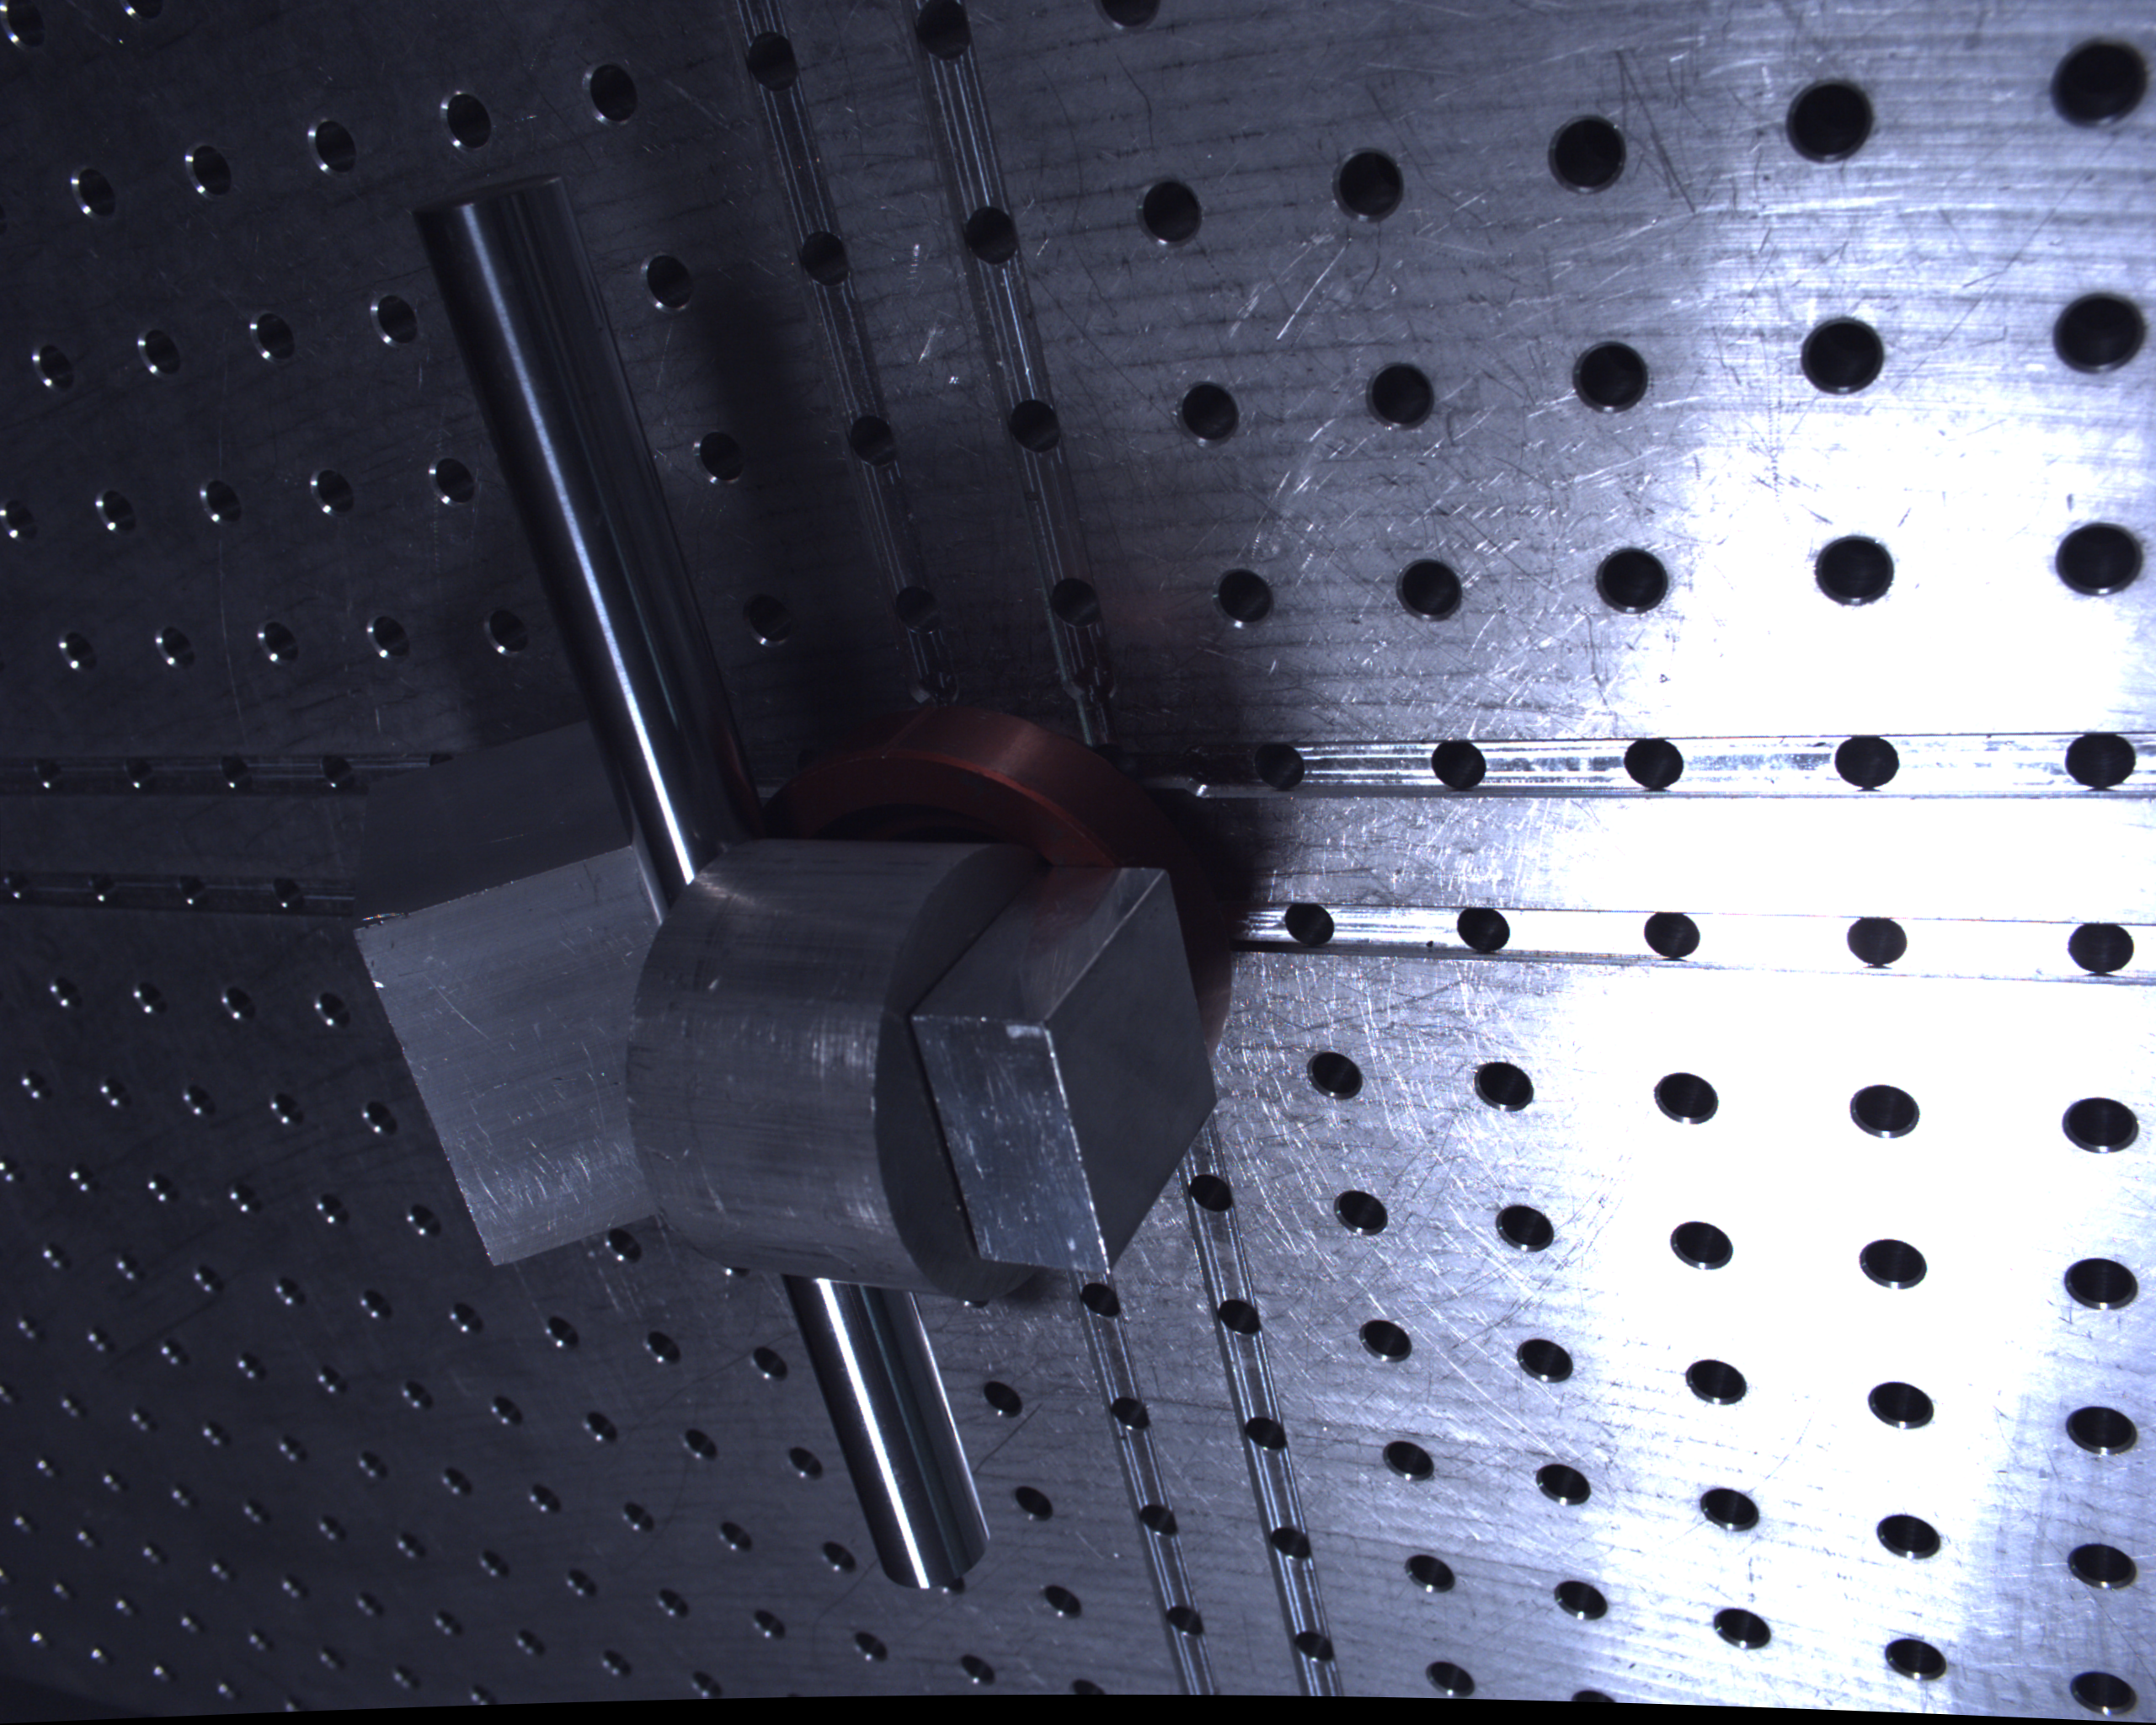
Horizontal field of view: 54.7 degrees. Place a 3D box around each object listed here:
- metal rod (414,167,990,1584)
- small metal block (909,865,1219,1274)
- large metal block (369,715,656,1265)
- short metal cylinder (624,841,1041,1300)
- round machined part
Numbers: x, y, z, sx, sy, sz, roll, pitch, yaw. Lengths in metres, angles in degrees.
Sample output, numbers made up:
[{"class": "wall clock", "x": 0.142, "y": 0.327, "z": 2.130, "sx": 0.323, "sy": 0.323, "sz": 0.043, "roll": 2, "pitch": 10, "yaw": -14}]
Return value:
[{"class": "metal rod", "x": -0.064, "y": 0.021, "z": 0.402, "sx": 0.025, "sy": 0.025, "sz": 0.298, "roll": 1, "pitch": 119, "yaw": 27}, {"class": "small metal block", "x": -0.001, "y": 0.034, "z": 0.361, "sx": 0.025, "sy": 0.050, "sz": 0.050, "roll": 1, "pitch": 119, "yaw": 27}, {"class": "large metal block", "x": -0.108, "y": 0.023, "z": 0.437, "sx": 0.050, "sy": 0.080, "sz": 0.079, "roll": -18, "pitch": 116, "yaw": -9}, {"class": "short metal cylinder", "x": -0.036, "y": 0.036, "z": 0.376, "sx": 0.050, "sy": 0.080, "sz": 0.079, "roll": 1, "pitch": 119, "yaw": 27}, {"class": "round machined part", "x": -0.015, "y": 0.013, "z": 0.413, "sx": 0.098, "sy": 0.042, "sz": 0.097, "roll": 13, "pitch": 124, "yaw": 20}]
